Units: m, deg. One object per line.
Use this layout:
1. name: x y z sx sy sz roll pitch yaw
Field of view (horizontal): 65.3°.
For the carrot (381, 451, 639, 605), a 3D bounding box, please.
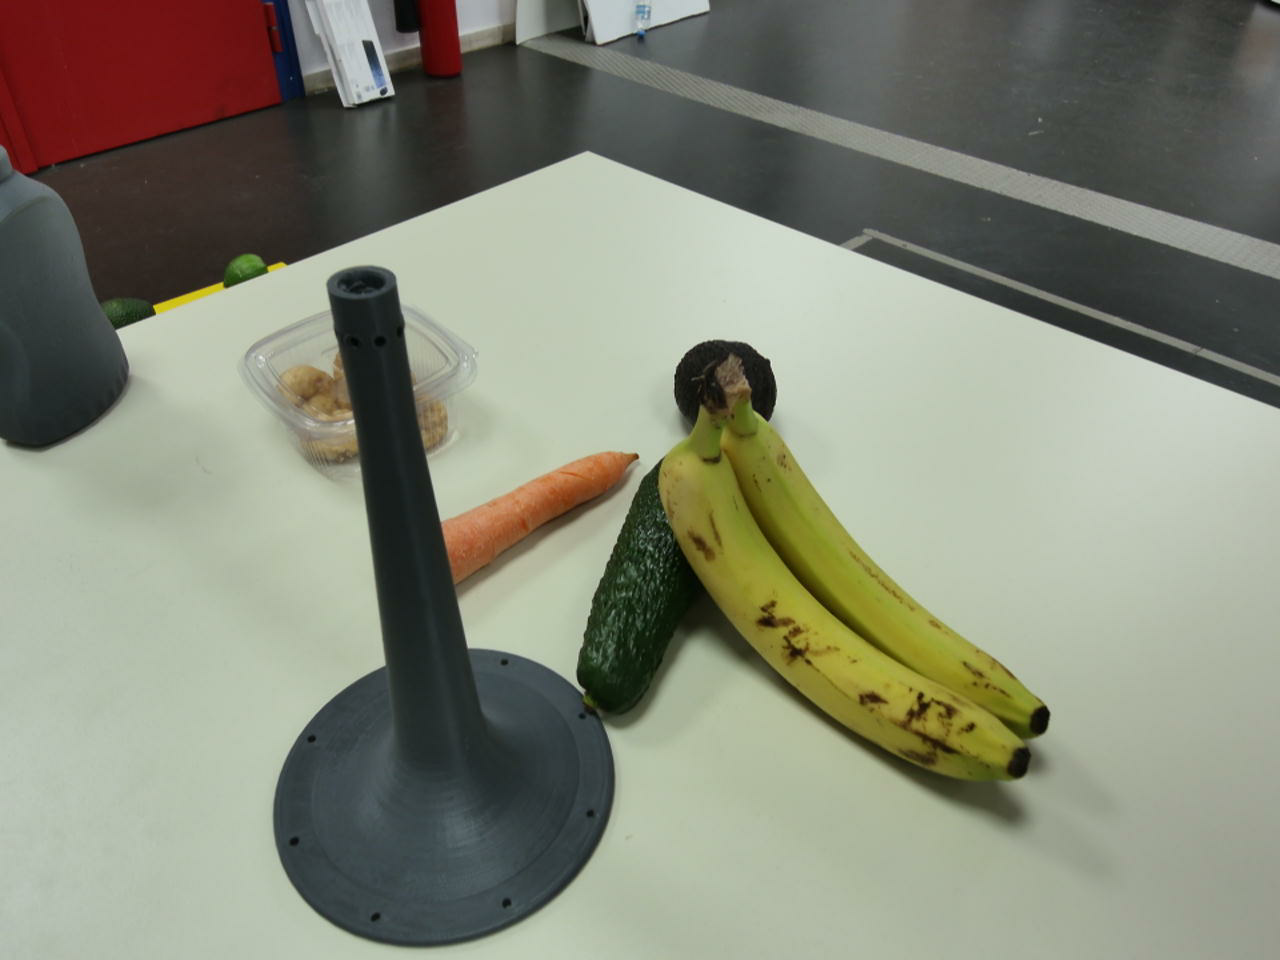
1. carrot: -0.071 0.015 0.602 0.039 0.041 0.196 30 46 32
